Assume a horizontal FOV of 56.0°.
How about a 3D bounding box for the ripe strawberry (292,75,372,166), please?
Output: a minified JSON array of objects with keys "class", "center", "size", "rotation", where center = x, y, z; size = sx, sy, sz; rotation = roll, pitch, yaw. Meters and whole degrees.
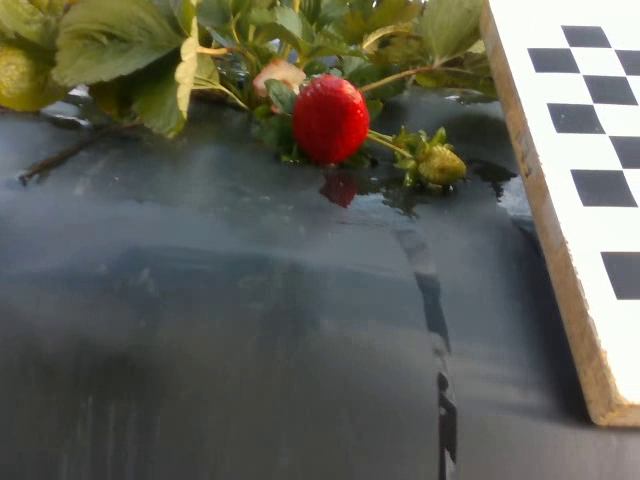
[{"class":"ripe strawberry","center":[0.010,-0.068,0.312],"size":[0.043,0.052,0.057],"rotation":[-23,-6,-12]}]
